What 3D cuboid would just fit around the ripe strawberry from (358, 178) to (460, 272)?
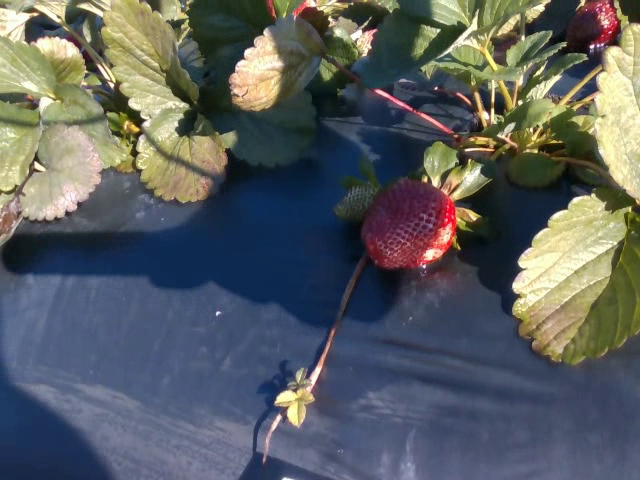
[{"bbox_3d":[0.035,-0.005,0.248,0.041,0.043,0.053,22,30,26],"label":"ripe strawberry"}]
